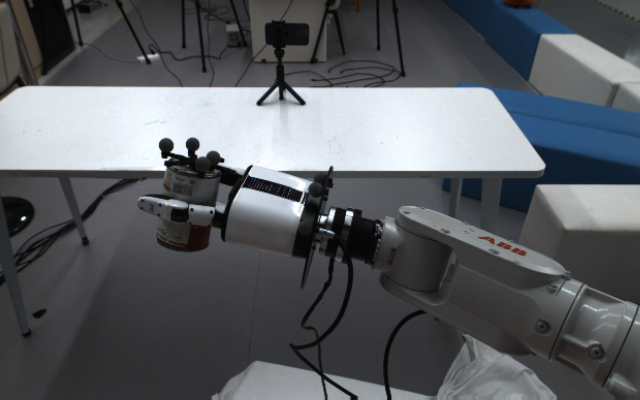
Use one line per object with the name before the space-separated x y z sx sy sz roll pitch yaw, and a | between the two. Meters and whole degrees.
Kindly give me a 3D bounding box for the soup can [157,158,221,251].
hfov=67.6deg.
soup can | -0.163 0.007 0.606 0.067 0.101 0.067 13 18 -4
